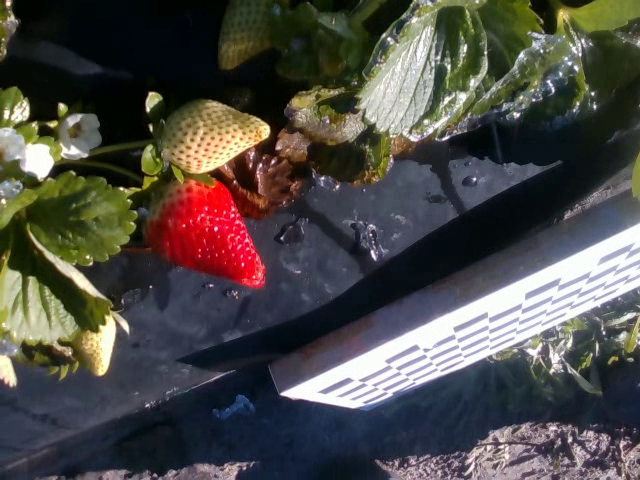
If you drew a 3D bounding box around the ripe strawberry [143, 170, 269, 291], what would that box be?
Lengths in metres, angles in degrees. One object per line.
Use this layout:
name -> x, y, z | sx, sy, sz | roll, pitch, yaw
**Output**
ripe strawberry -> -0.040, 0.001, 0.229 | 0.040, 0.053, 0.042 | -48, -4, 37
